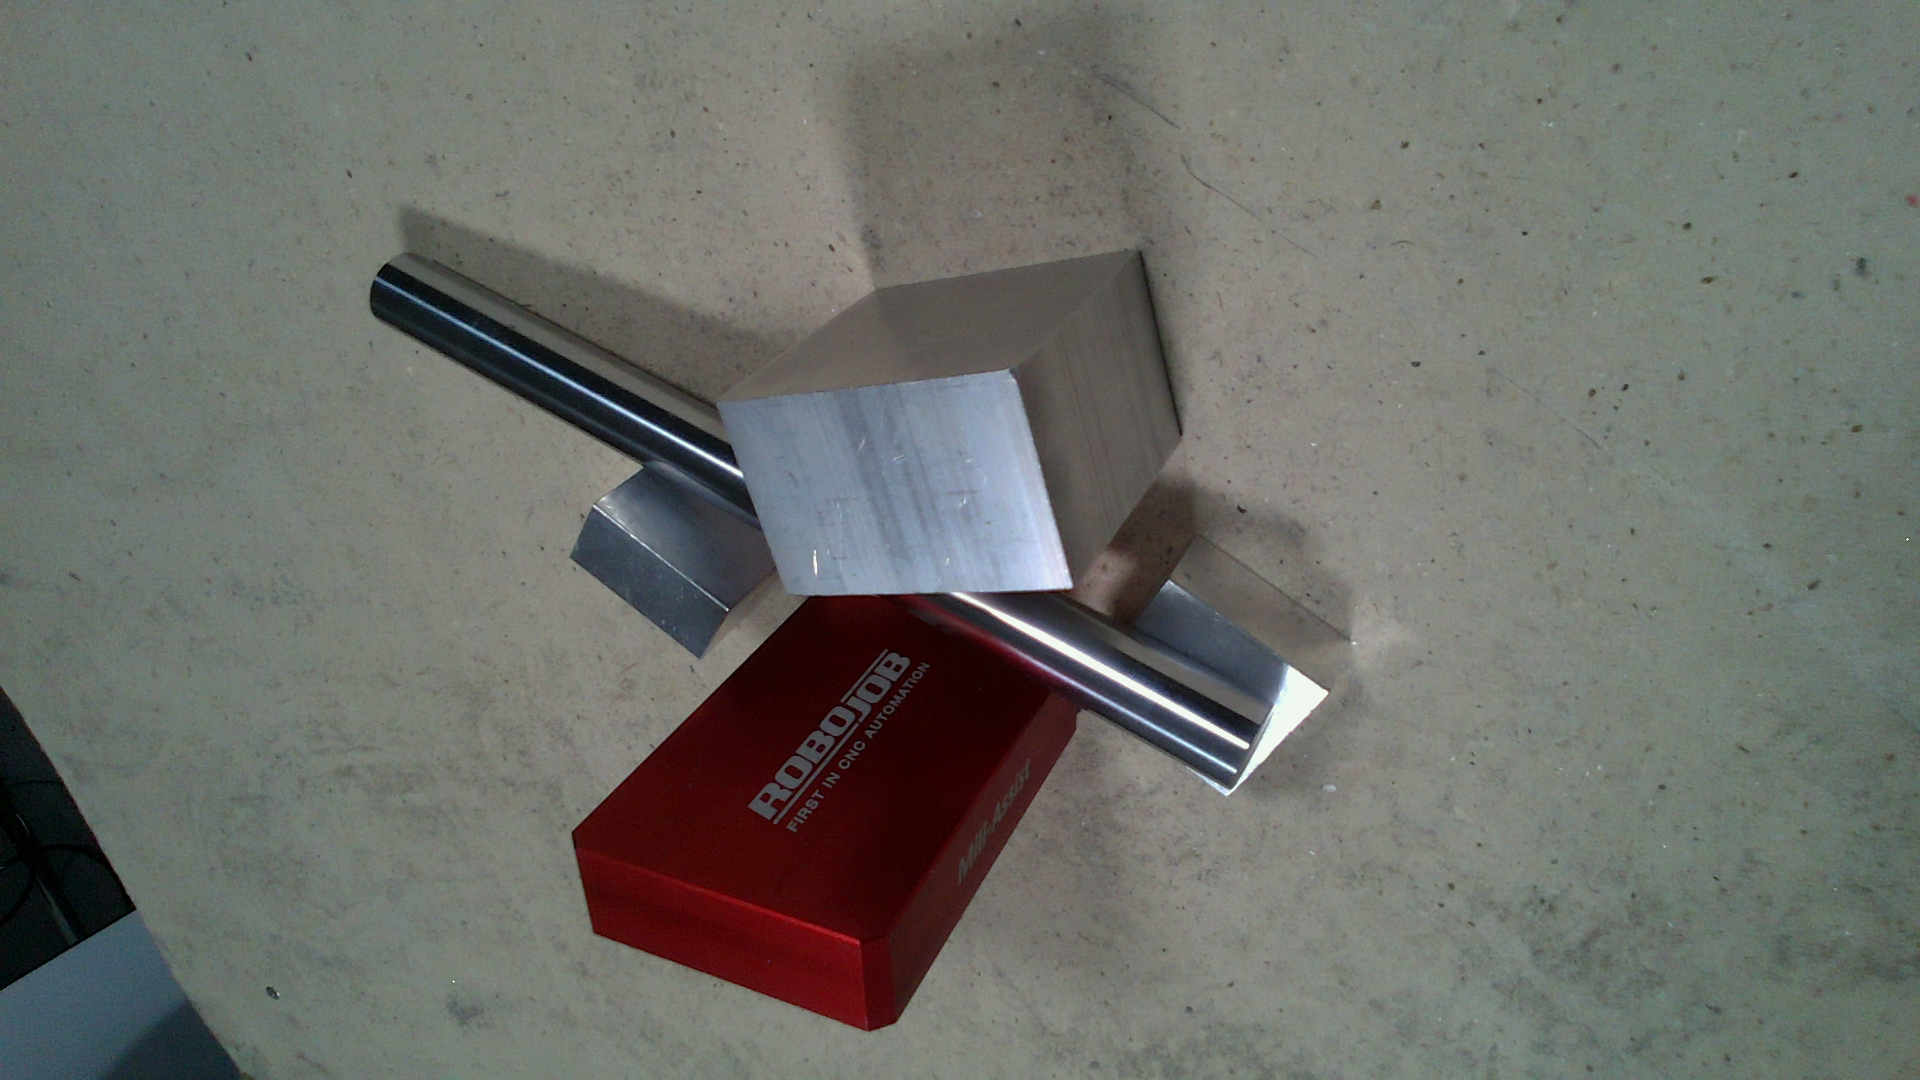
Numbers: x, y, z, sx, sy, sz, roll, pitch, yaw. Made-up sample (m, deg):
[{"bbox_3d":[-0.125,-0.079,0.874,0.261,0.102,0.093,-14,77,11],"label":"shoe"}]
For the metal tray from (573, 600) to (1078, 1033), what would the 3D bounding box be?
[{"bbox_3d":[-0.031,0.066,0.382,0.090,0.130,0.030,12,124,22],"label":"metal tray"}]

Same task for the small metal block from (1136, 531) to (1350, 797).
[{"bbox_3d":[0.069,0.035,0.378,0.050,0.025,0.050,36,129,4],"label":"small metal block"}]

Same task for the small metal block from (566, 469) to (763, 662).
[{"bbox_3d":[-0.082,0.001,0.421,0.050,0.050,0.025,38,129,2],"label":"small metal block"}]

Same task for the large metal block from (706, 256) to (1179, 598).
[{"bbox_3d":[-0.001,-0.028,0.339,0.080,0.080,0.050,-2,118,29],"label":"large metal block"}]

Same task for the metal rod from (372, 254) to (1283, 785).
[{"bbox_3d":[-0.051,-0.014,0.394,0.299,0.025,0.025,27,128,18],"label":"metal rod"}]
